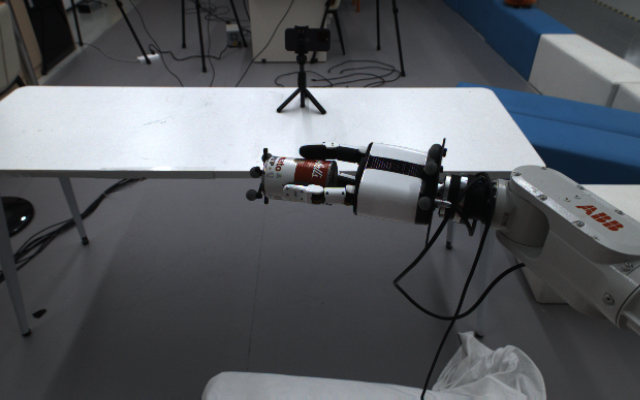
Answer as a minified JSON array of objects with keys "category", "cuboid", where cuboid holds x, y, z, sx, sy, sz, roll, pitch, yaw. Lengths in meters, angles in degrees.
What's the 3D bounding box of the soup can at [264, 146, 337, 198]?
[{"category":"soup can","cuboid":[-0.028,-0.030,0.732,0.101,0.067,0.067,6,35,13]}]
